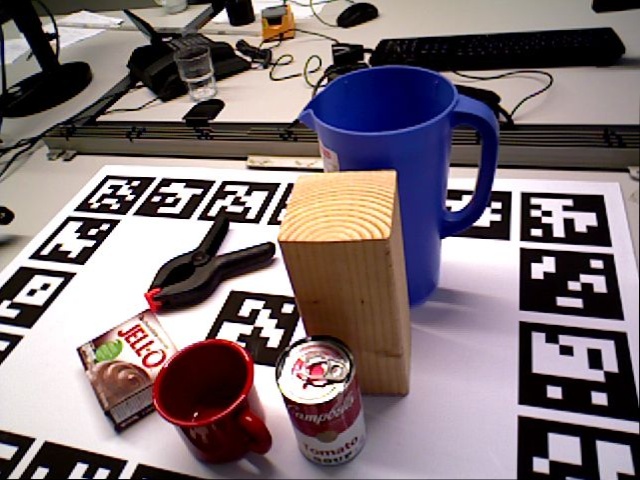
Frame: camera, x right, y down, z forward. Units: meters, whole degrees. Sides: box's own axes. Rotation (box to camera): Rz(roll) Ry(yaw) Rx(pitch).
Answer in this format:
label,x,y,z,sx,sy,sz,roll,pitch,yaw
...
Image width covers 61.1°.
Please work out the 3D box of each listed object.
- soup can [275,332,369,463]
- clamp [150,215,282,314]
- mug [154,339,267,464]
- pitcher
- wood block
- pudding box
label,x,y,z,sx,sy,sz,roll,pitch,yaw
soup can,0.005,0.137,0.466,0.068,0.104,0.067,-7,42,6
clamp,-0.145,0.034,0.689,0.122,0.037,0.162,33,58,31
mug,-0.087,0.154,0.489,0.091,0.083,0.117,-31,42,-25
pitcher,0.088,-0.049,0.554,0.190,0.247,0.130,1,39,19
wood block,0.036,0.040,0.488,0.090,0.210,0.089,4,42,12
pudding box,-0.207,0.133,0.582,0.088,0.039,0.114,-34,44,-20
